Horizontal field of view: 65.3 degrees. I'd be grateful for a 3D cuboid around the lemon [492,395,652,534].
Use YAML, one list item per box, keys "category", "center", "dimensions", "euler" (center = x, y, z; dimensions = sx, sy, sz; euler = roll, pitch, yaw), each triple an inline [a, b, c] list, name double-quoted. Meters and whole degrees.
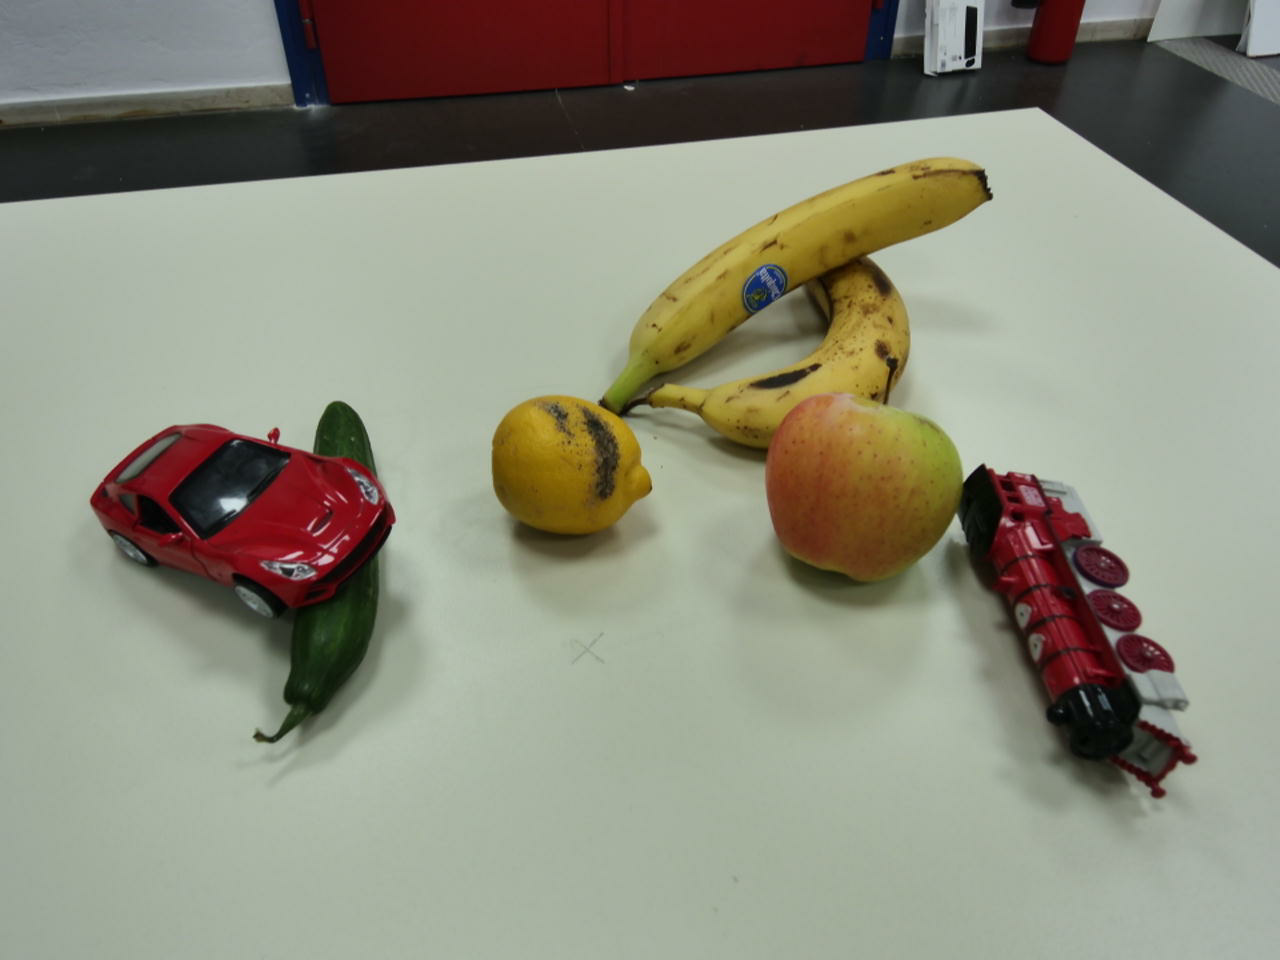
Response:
- category: "lemon"
  center: [-0.030, -0.006, 0.408]
  dimensions: [0.061, 0.056, 0.058]
  euler: [-14, 40, -17]
